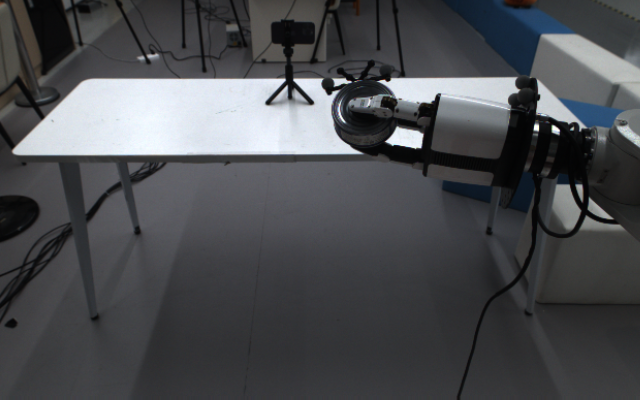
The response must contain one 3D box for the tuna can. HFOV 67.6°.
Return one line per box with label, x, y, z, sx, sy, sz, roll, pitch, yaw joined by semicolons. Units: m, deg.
tuna can;0.062;-0.108;0.630;0.085;0.034;0.085;-4;68;9
